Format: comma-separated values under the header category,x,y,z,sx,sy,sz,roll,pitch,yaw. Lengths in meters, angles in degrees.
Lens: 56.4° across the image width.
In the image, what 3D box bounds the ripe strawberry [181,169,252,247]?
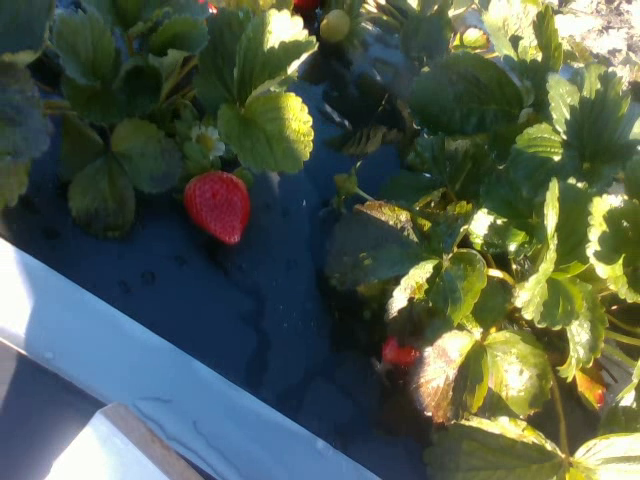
category,x,y,z,sx,sy,sz,roll,pitch,yaw
ripe strawberry,-0.061,-0.019,0.364,0.045,0.058,0.042,-23,-21,10
